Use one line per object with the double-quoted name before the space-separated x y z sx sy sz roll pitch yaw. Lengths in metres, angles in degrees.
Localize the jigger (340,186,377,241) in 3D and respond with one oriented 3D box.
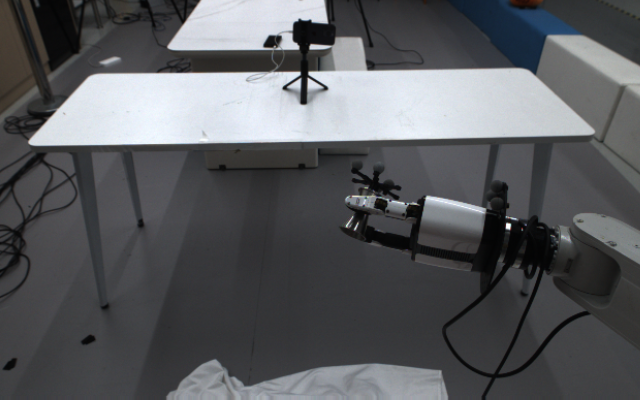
"jigger" 0.060 0.017 0.710 0.043 0.043 0.071 21 73 25
